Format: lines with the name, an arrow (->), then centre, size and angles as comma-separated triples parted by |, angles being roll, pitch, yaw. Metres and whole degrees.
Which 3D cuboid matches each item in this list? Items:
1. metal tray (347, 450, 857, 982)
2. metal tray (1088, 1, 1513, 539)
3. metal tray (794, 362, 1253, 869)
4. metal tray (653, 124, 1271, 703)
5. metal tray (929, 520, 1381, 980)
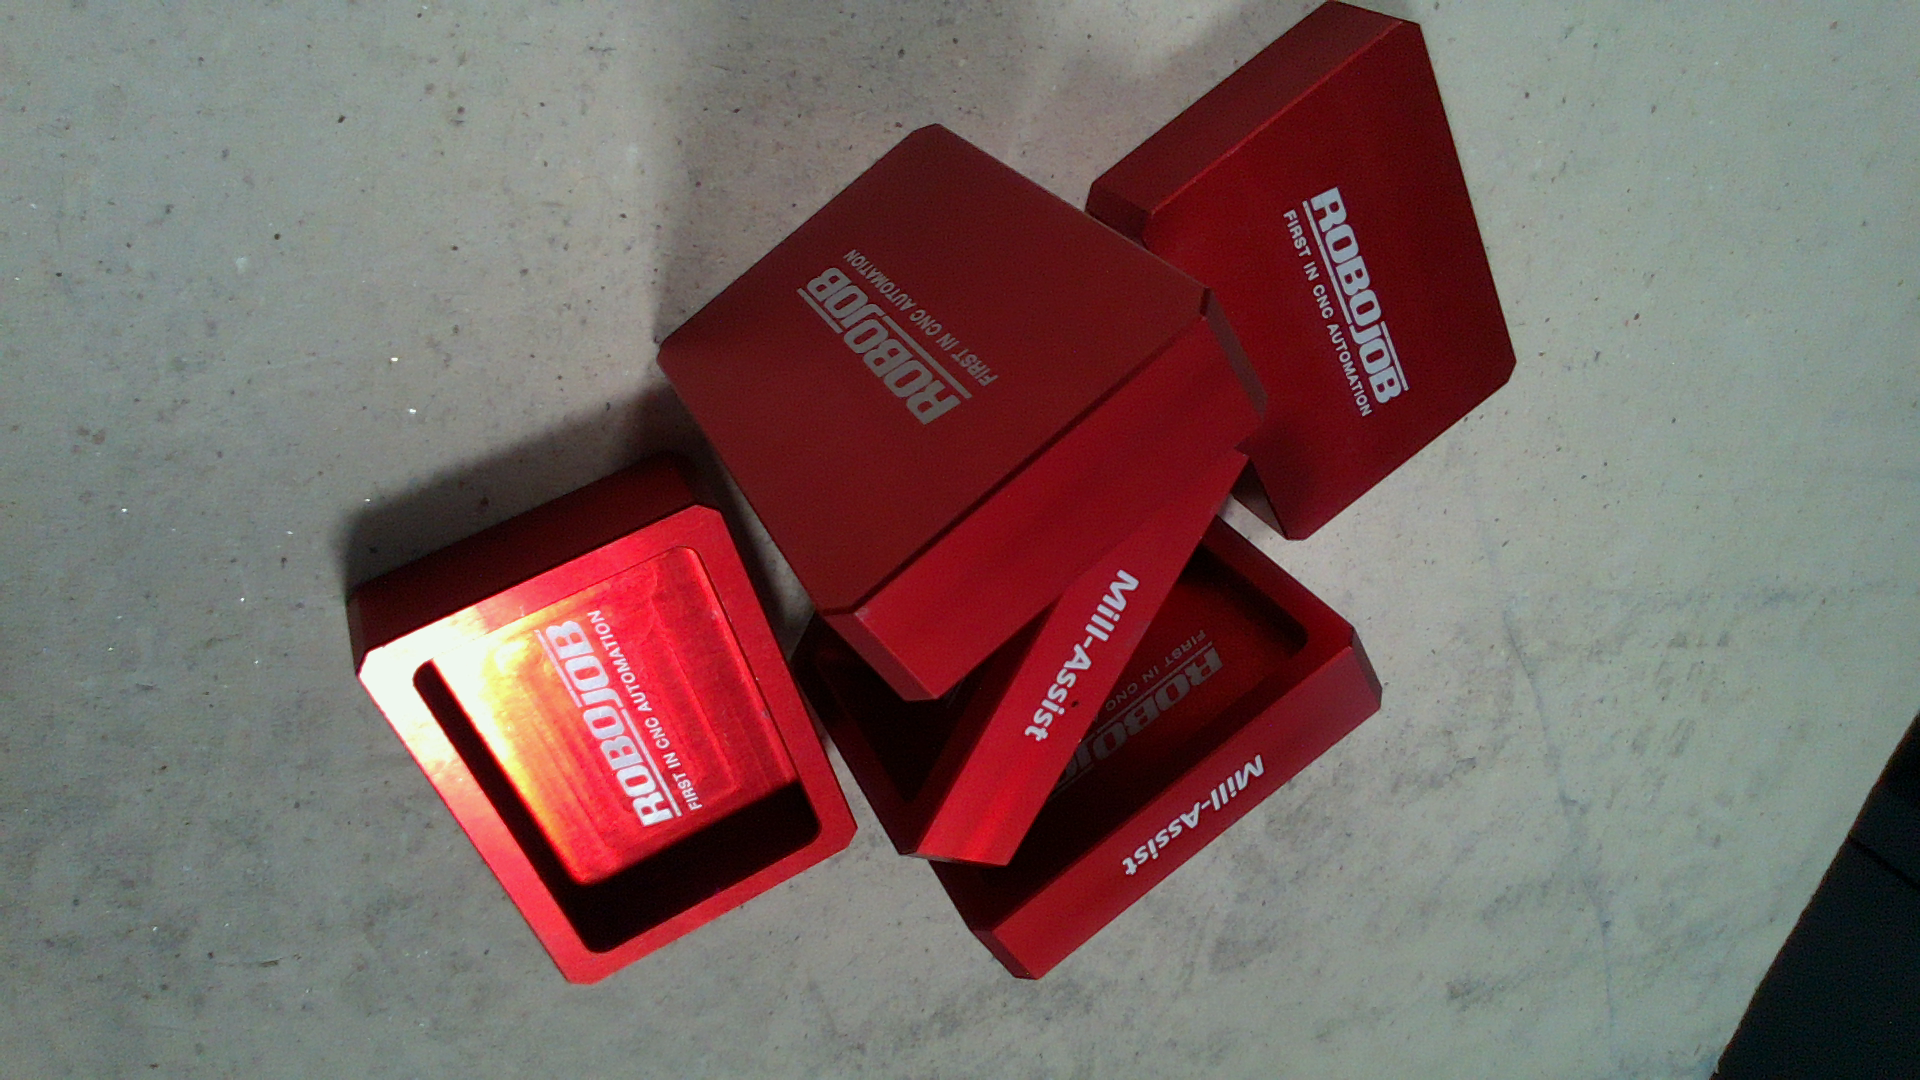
metal tray -> -0.090, 0.051, 0.369 | 0.090, 0.030, 0.130 | -26, 128, -12
metal tray -> 0.103, -0.072, 0.397 | 0.090, 0.030, 0.130 | -38, 129, -3
metal tray -> 0.010, 0.007, 0.356 | 0.030, 0.090, 0.130 | 17, 109, -35
metal tray -> -0.008, -0.035, 0.296 | 0.090, 0.130, 0.030 | -40, 129, -1
metal tray -> 0.044, 0.053, 0.403 | 0.130, 0.090, 0.030 | -37, 129, -3
